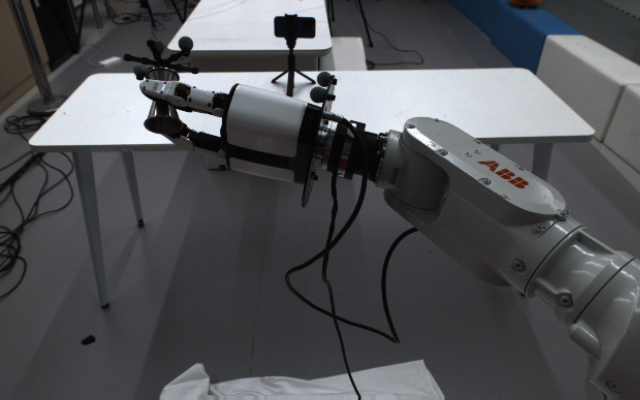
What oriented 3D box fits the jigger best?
[{"bbox_3d":[-0.188,-0.118,0.582,0.043,0.043,0.071,-5,72,-10],"label":"jigger"}]
